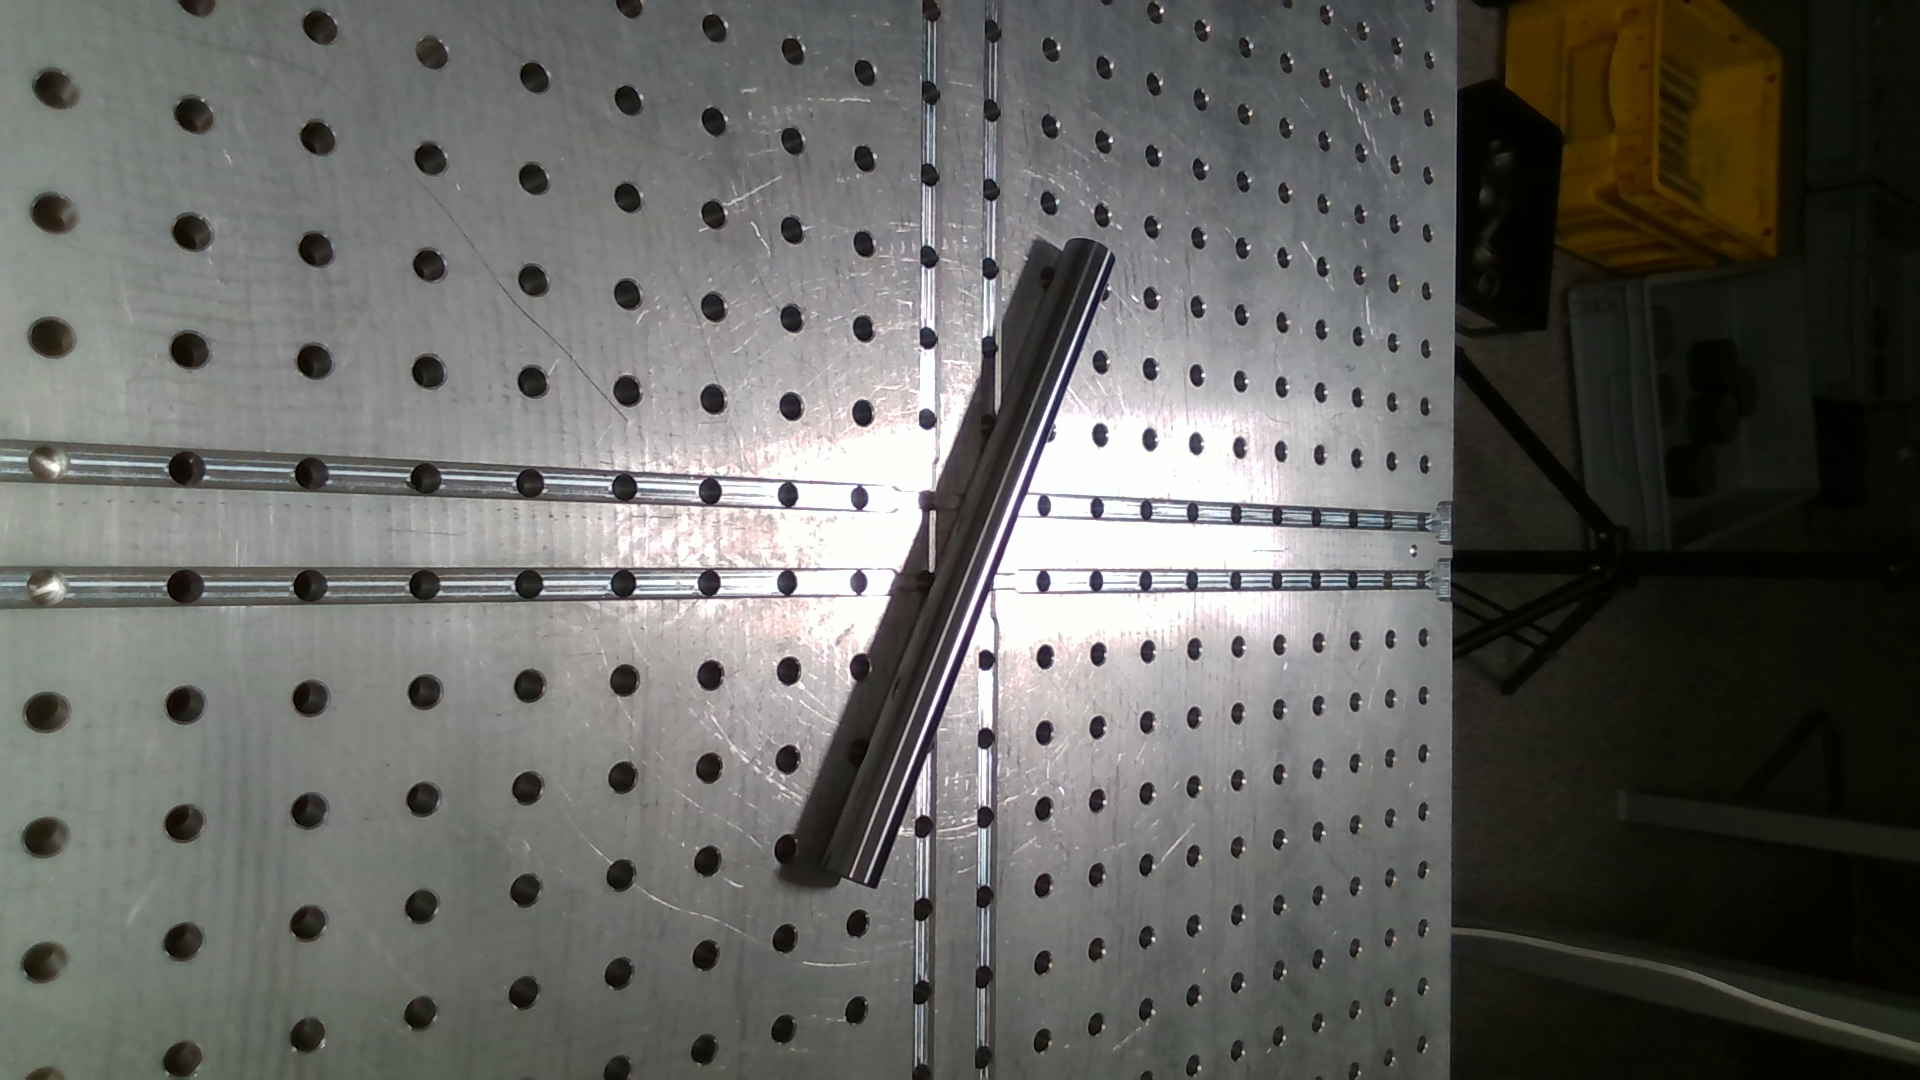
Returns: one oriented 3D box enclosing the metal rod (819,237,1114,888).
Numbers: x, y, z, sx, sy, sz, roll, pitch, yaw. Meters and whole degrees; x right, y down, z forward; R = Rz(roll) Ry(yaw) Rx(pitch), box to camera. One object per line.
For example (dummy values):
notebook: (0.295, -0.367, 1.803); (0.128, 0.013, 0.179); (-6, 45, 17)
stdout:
metal rod: (0.007, 0.001, 0.592); (0.025, 0.025, 0.299); (34, 69, -35)
